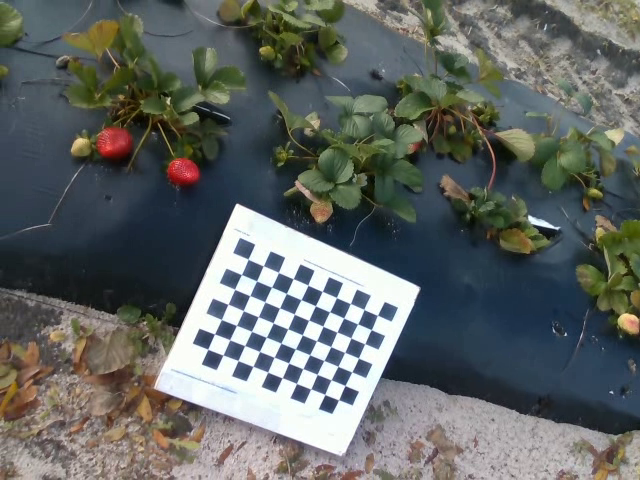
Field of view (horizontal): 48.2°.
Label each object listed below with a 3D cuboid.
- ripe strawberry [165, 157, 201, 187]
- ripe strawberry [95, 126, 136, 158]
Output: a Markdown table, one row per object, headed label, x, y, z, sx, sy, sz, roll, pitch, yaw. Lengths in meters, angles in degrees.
| label | x | y | z | sx | sy | sz | roll | pitch | yaw |
| --- | --- | --- | --- | --- | --- | --- | --- | --- | --- |
| ripe strawberry | -0.126 | -0.067 | 0.686 | 0.033 | 0.038 | 0.039 | 34 | 8 | -33 |
| ripe strawberry | -0.188 | -0.092 | 0.666 | 0.035 | 0.041 | 0.036 | 9 | 28 | -9 |
